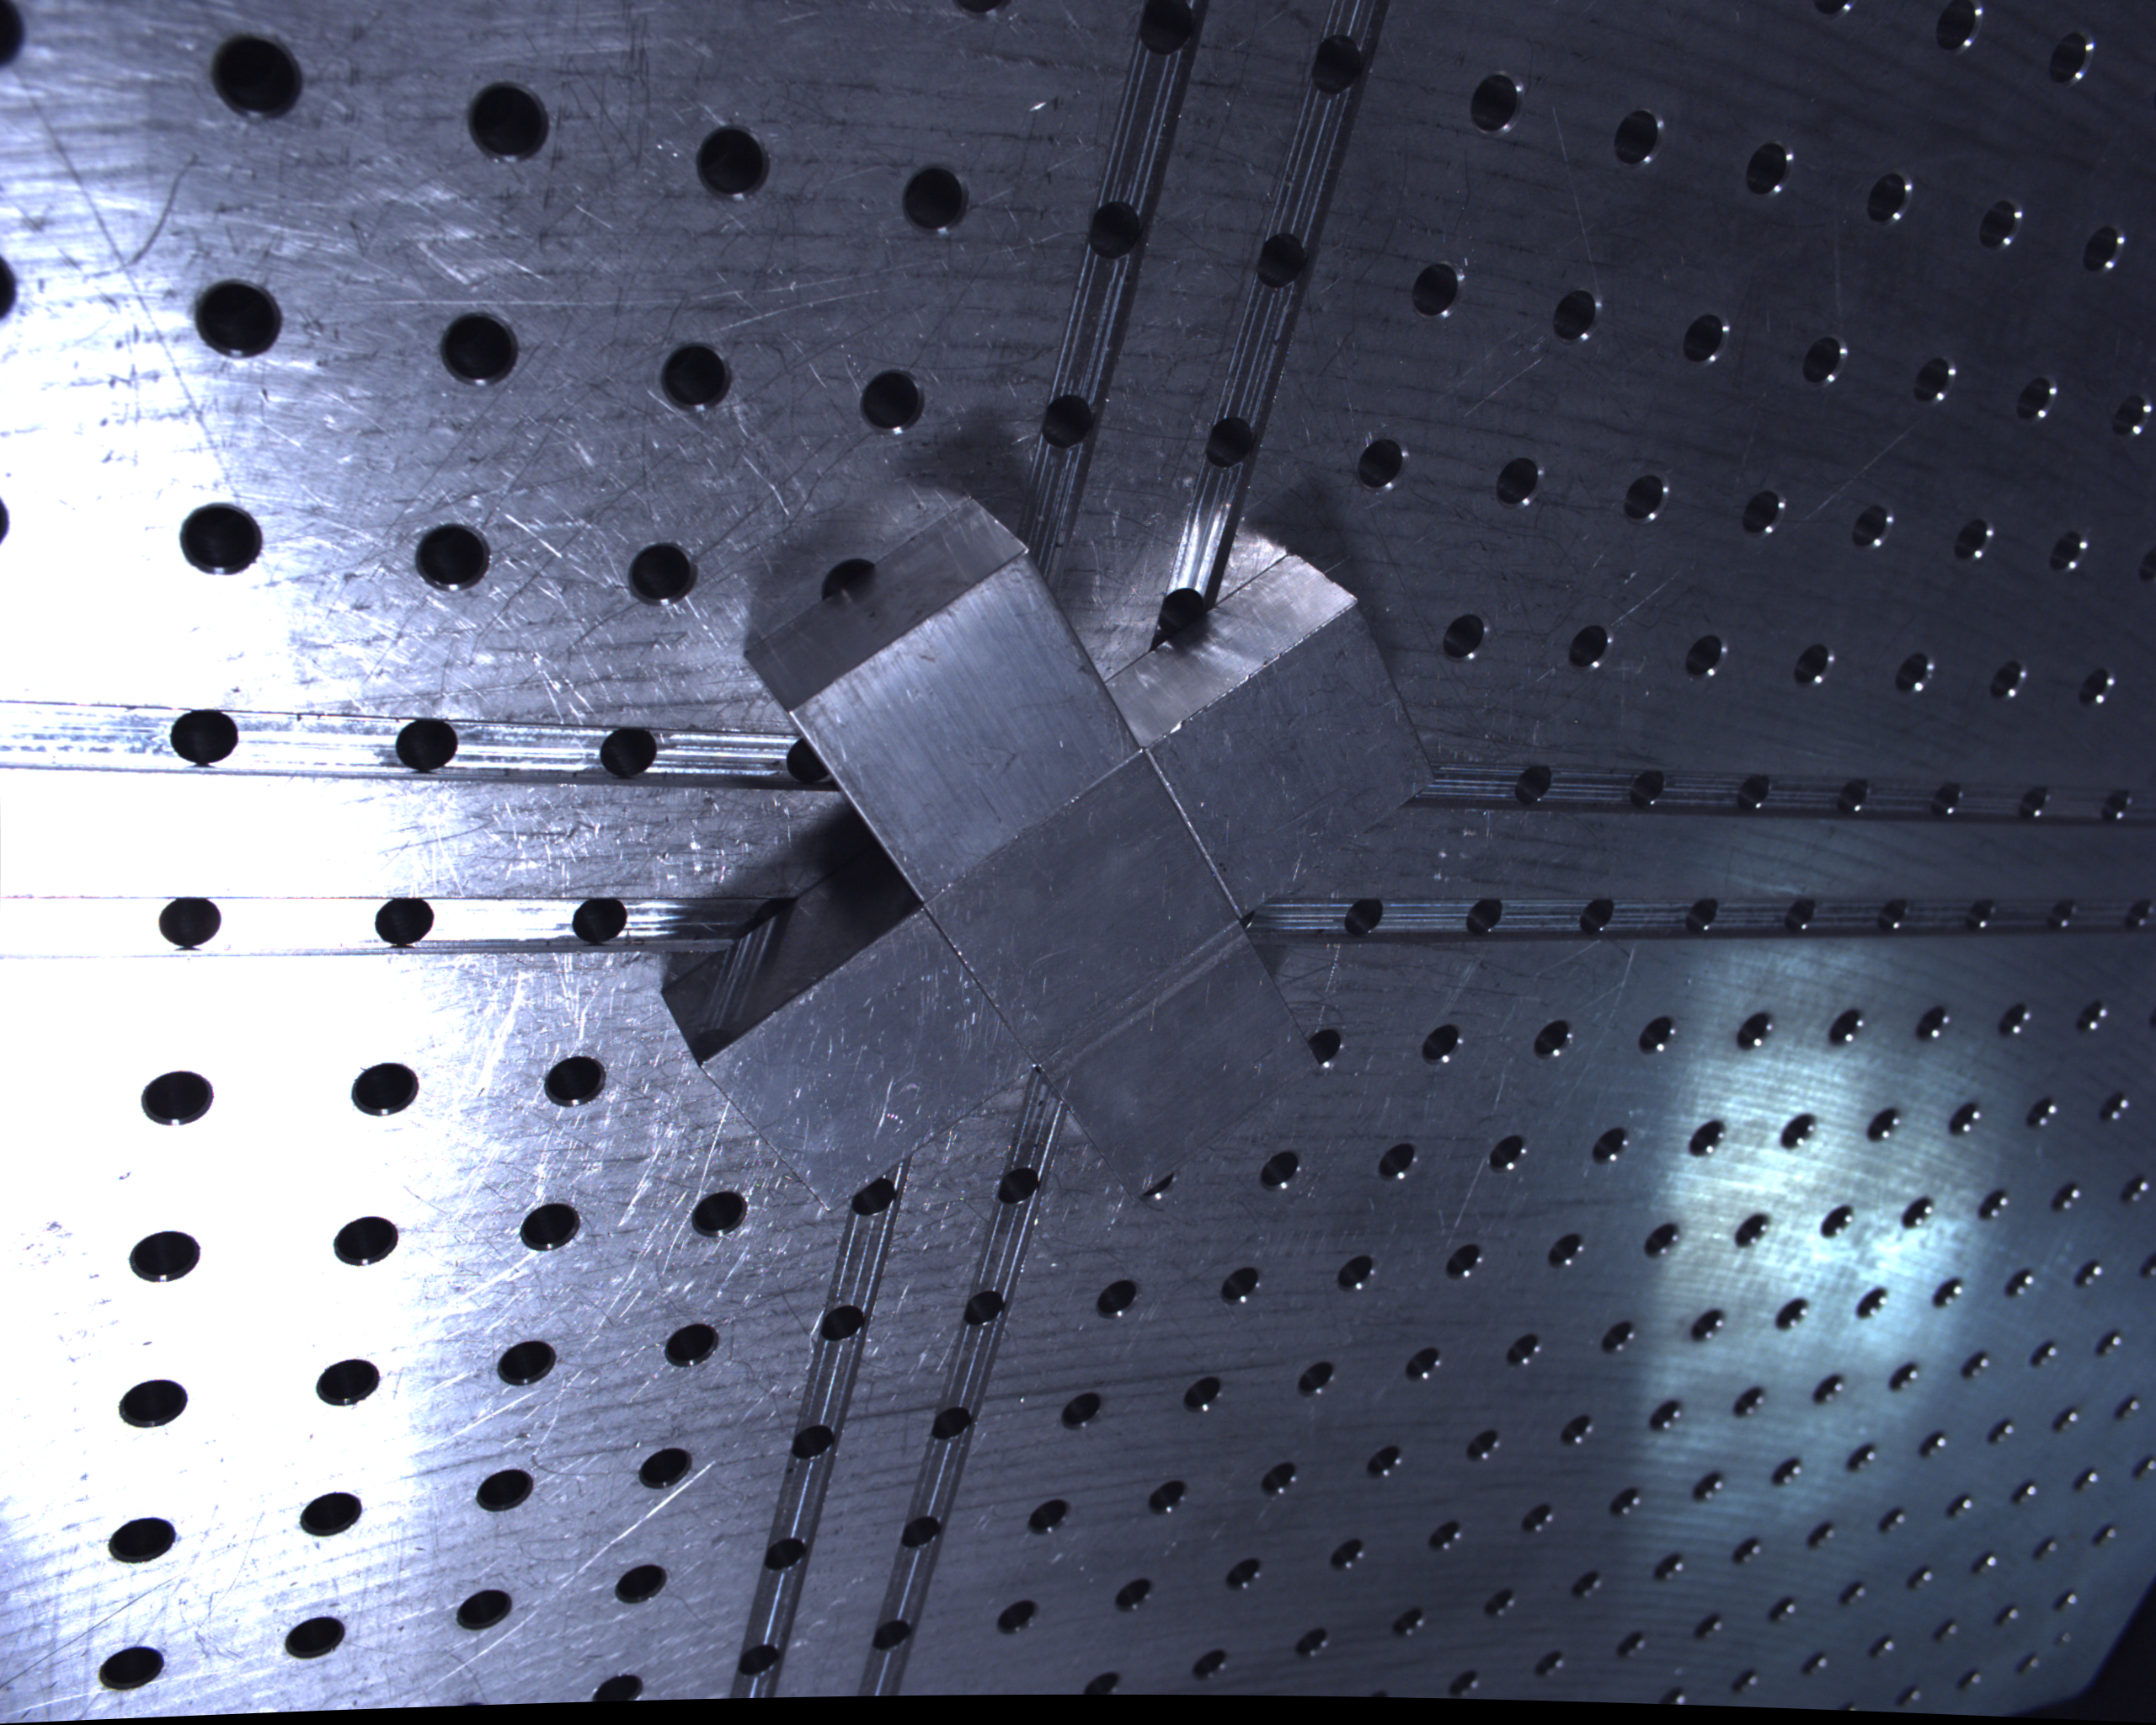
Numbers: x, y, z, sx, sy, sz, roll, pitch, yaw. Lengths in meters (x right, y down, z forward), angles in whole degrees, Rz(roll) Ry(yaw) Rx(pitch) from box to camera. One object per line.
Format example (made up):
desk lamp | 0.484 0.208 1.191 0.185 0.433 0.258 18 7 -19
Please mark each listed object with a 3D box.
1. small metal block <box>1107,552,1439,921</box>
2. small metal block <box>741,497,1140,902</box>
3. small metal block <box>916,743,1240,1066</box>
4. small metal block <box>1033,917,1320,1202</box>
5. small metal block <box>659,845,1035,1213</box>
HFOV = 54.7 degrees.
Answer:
small metal block | 0.038 -0.025 0.417 0.050 0.025 0.050 -36 129 -5
small metal block | -0.024 -0.029 0.381 0.050 0.025 0.050 -35 129 -5
small metal block | -0.003 0.004 0.412 0.050 0.025 0.050 -36 129 -5
small metal block | 0.017 0.036 0.444 0.050 0.025 0.050 -35 129 -5
small metal block | -0.045 0.033 0.408 0.050 0.025 0.050 -36 129 -5
